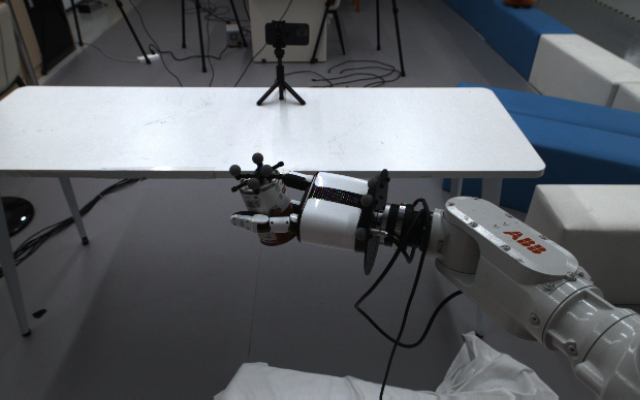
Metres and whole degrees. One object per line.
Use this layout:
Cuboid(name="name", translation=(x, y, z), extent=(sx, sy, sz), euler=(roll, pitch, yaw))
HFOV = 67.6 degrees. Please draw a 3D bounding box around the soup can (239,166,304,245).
Cuboid(name="soup can", translation=(-0.076, 0.012, 0.746), extent=(0.067, 0.101, 0.067), euler=(-14, 31, 8))
